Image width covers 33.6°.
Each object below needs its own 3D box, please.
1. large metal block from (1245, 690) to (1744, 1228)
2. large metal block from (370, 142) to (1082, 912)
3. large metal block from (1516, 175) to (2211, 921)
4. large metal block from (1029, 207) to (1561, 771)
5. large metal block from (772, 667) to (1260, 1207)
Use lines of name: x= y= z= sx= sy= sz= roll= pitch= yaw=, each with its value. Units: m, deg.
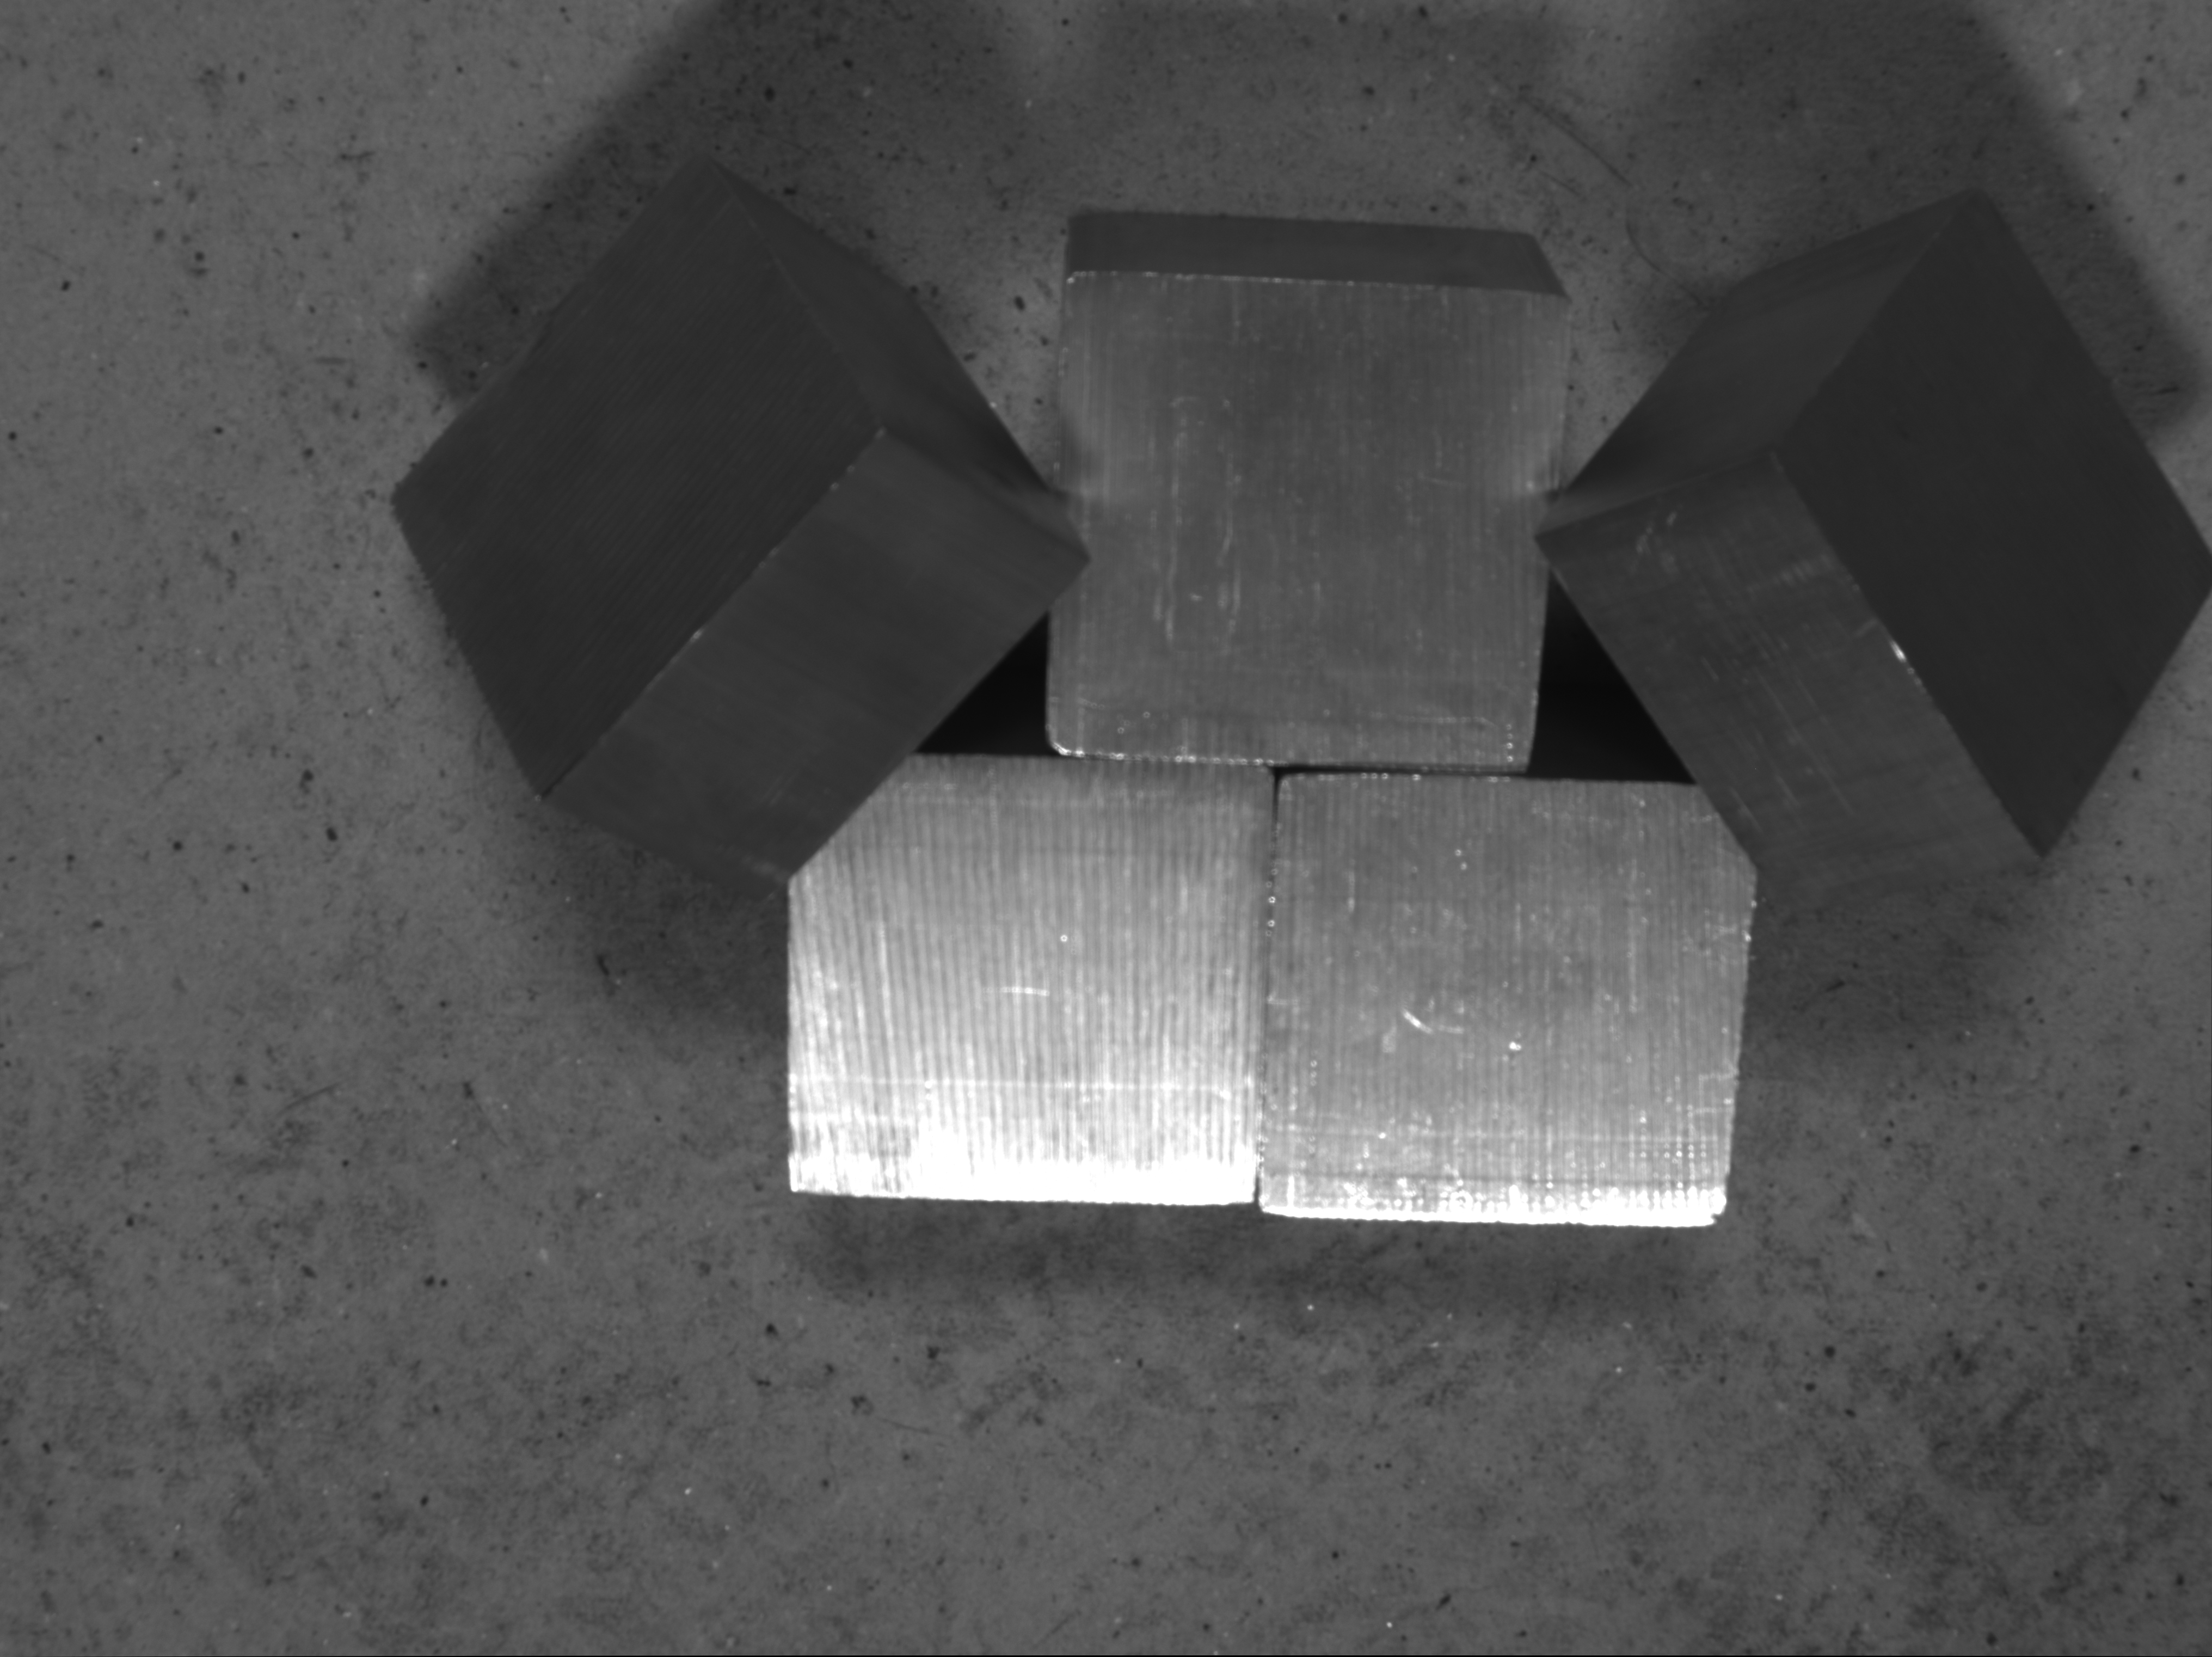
large metal block: x=0.065 y=0.021 z=0.637 sx=0.080 sy=0.050 sz=0.080 roll=1 pitch=110 yaw=-1
large metal block: x=-0.063 y=-0.048 z=0.588 sx=0.080 sy=0.080 sz=0.050 roll=-45 pitch=139 yaw=14
large metal block: x=0.124 y=-0.045 z=0.593 sx=0.050 sy=0.080 sz=0.080 roll=-17 pitch=116 yaw=49
large metal block: x=0.029 y=-0.057 z=0.610 sx=0.080 sy=0.050 sz=0.080 roll=3 pitch=110 yaw=-2
large metal block: x=-0.016 y=0.018 z=0.636 sx=0.080 sy=0.050 sz=0.080 roll=1 pitch=110 yaw=-1
